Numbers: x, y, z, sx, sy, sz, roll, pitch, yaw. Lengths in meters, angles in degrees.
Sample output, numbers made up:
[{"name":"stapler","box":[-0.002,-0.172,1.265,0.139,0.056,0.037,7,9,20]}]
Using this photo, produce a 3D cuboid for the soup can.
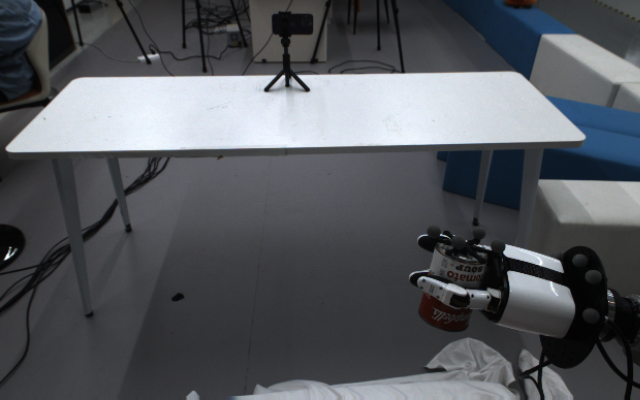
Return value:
[{"name":"soup can","box":[0.174,0.110,0.632,0.067,0.101,0.067,8,19,-3]}]
